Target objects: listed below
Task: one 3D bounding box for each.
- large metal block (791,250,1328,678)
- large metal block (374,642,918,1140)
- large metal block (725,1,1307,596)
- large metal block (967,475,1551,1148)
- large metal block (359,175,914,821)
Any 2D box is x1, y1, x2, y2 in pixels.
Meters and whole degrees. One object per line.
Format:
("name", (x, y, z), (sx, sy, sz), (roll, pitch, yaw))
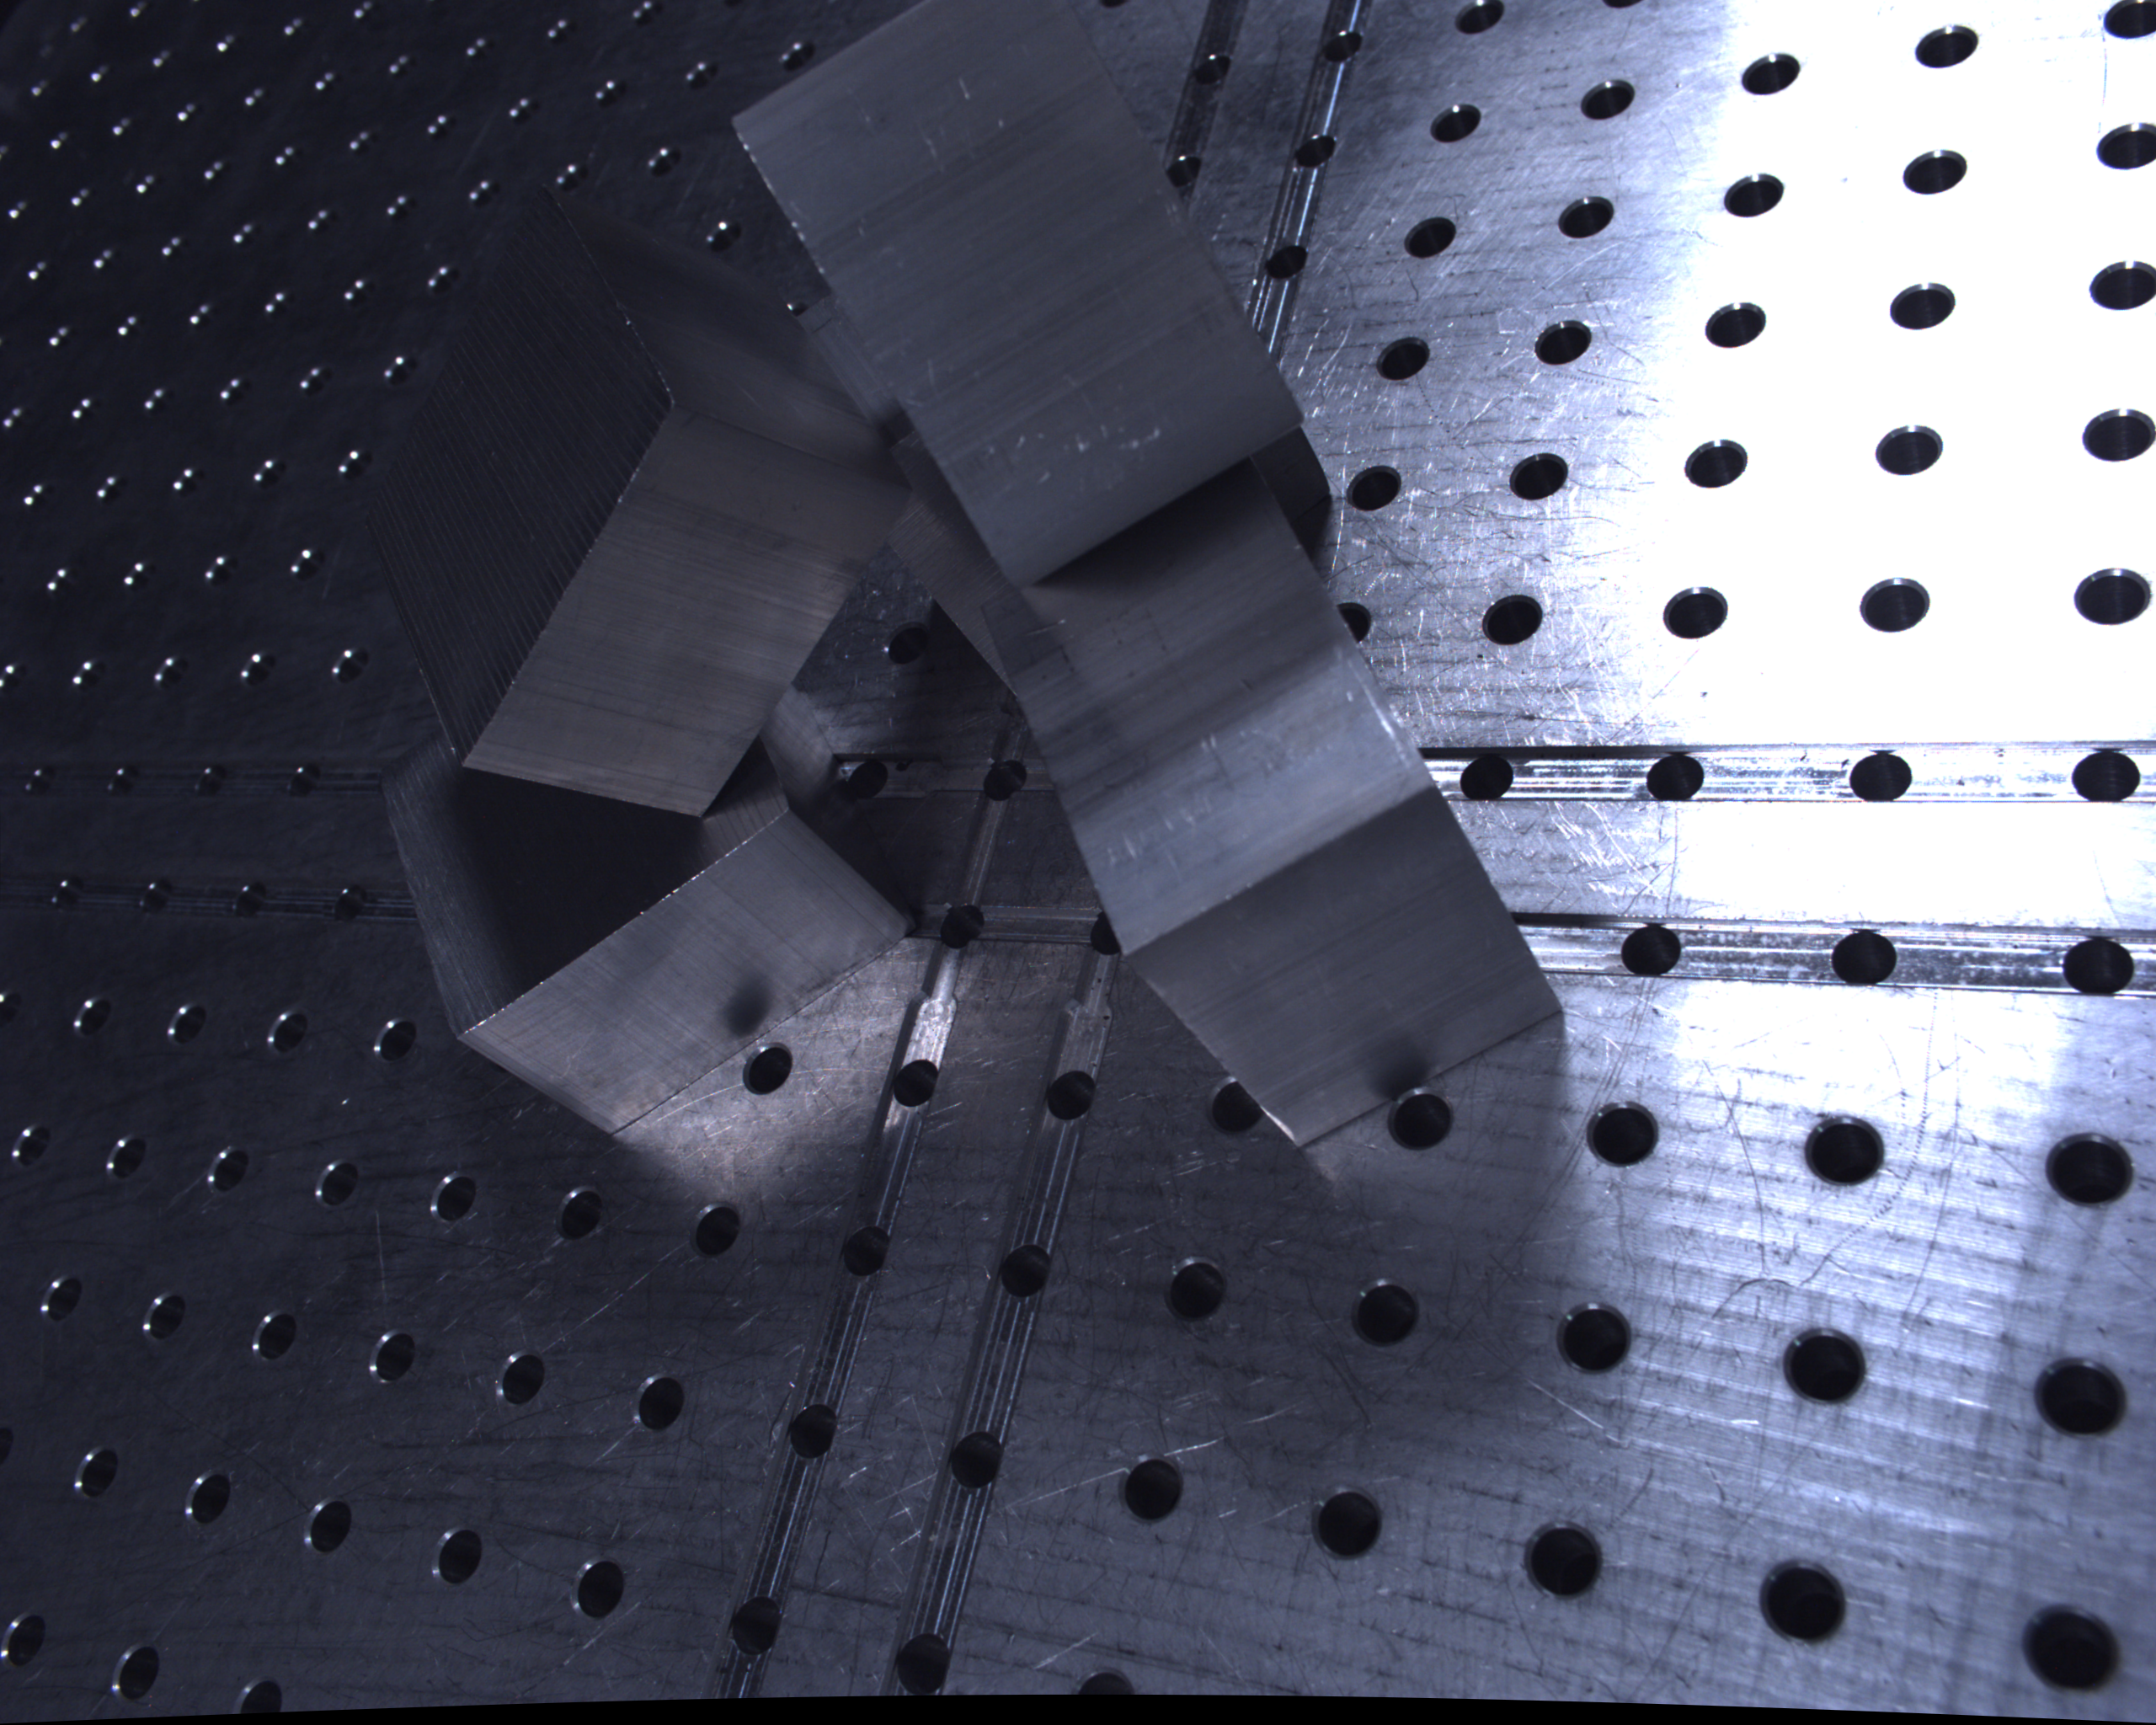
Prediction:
("large metal block", (-0.007, -0.091, 0.429), (0.080, 0.080, 0.050), (-36, 52, 4))
("large metal block", (-0.092, -0.003, 0.440), (0.080, 0.050, 0.080), (-34, 52, 5))
("large metal block", (-0.010, -0.092, 0.343), (0.050, 0.080, 0.080), (-31, 9, 3))
("large metal block", (0.032, -0.009, 0.359), (0.050, 0.080, 0.080), (-30, 52, 9))
("large metal block", (-0.086, -0.068, 0.393), (0.080, 0.050, 0.080), (-53, 47, 23))
